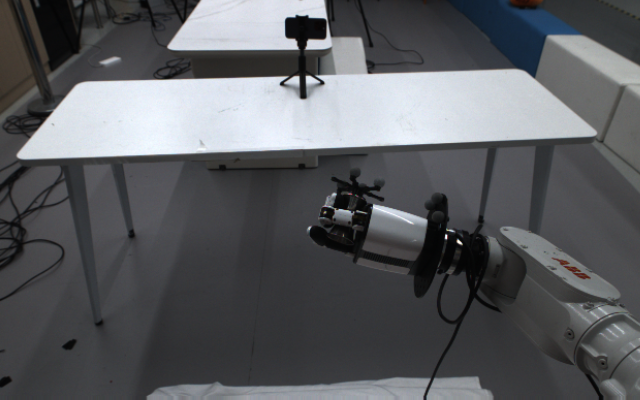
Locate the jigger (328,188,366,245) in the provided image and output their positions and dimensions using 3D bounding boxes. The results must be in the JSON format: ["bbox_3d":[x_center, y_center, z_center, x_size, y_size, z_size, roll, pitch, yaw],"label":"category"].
[{"bbox_3d":[0.042,0.026,0.728,0.043,0.043,0.071,15,70,18],"label":"jigger"}]
